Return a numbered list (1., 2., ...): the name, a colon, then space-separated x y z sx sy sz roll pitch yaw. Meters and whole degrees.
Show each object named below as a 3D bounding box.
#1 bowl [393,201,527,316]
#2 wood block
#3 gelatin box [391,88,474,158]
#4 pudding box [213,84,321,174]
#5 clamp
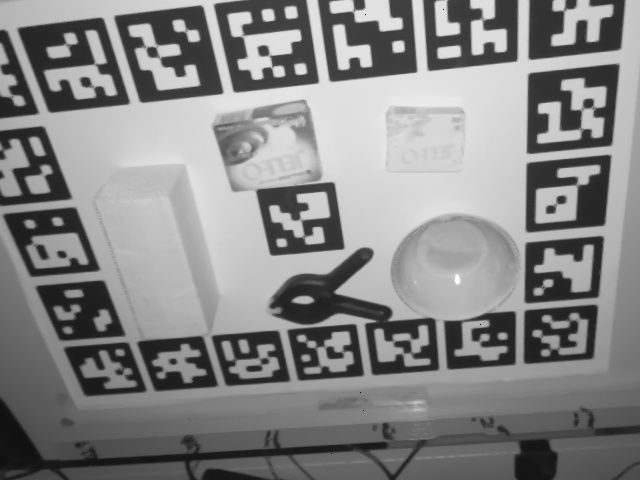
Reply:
1. bowl: 0.173 0.014 0.872 0.161 0.055 0.160 1 117 4
2. wood block: -0.204 -0.003 0.851 0.090 0.092 0.205 -2 119 6
3. gelatin box: 0.128 -0.133 0.796 0.089 0.030 0.072 2 118 2
4. pudding box: -0.059 -0.129 0.805 0.114 0.039 0.089 -6 115 4
5. clamp: 0.019 0.058 0.916 0.164 0.037 0.121 -13 118 12
